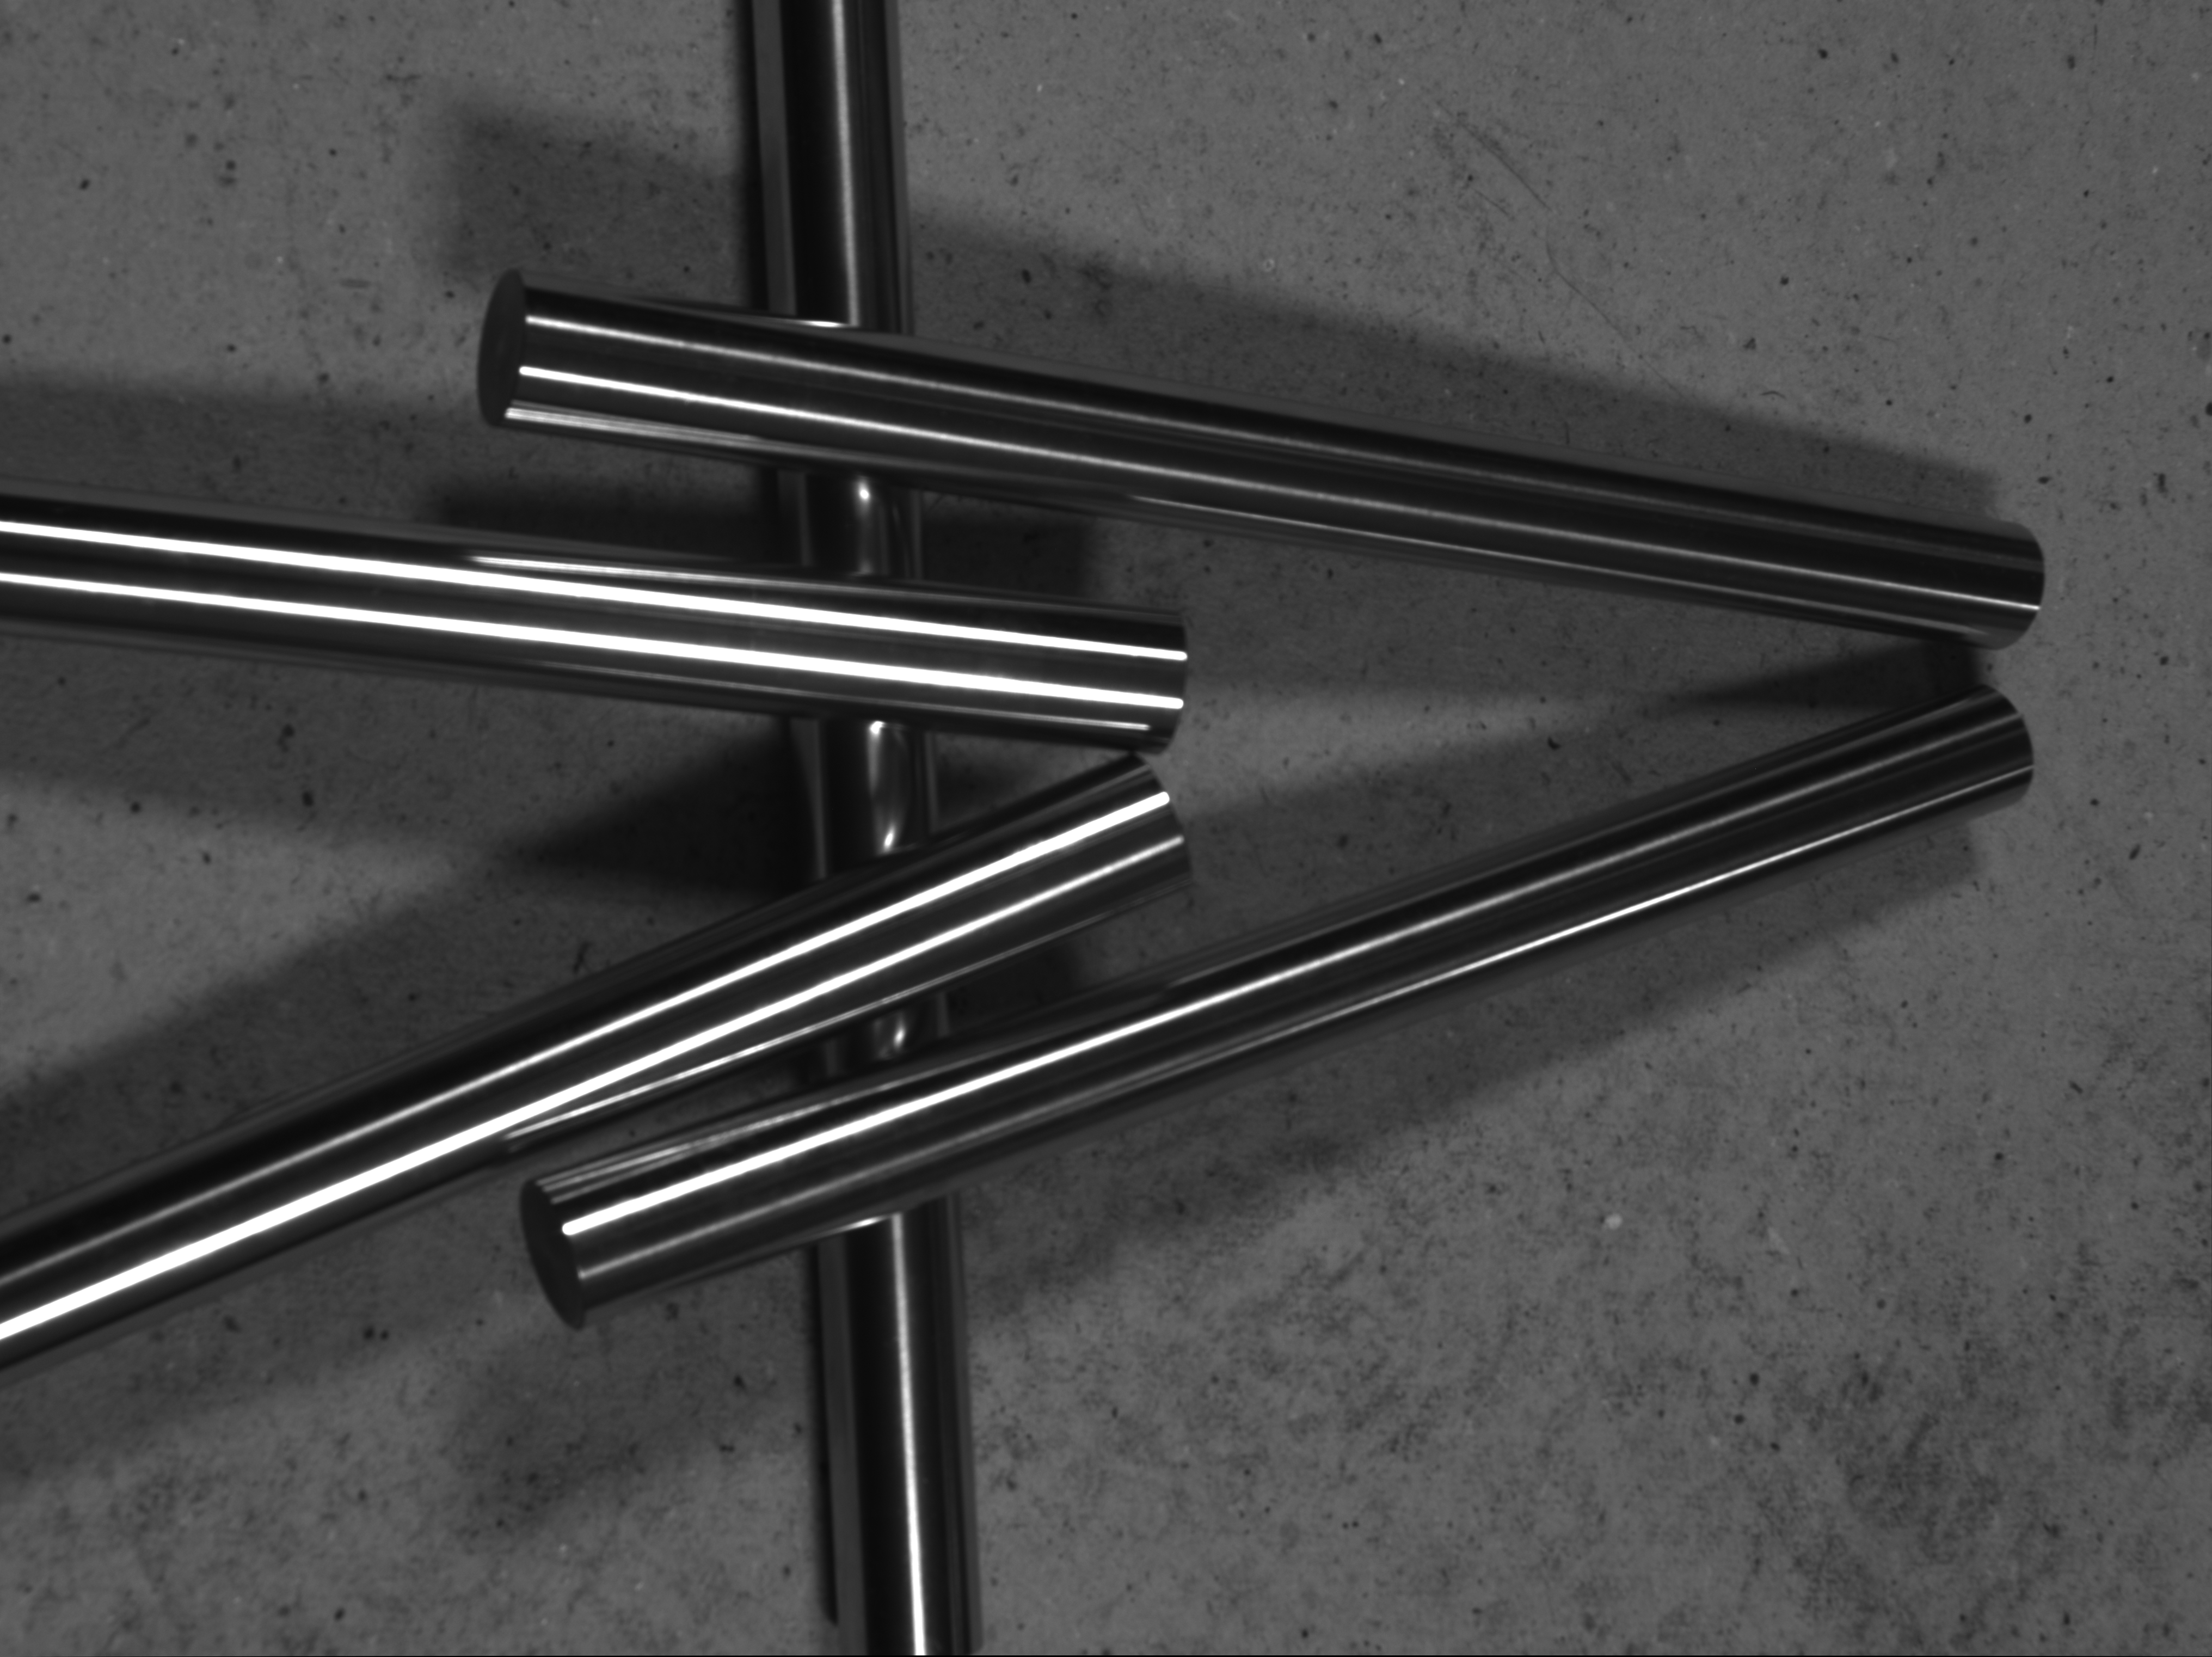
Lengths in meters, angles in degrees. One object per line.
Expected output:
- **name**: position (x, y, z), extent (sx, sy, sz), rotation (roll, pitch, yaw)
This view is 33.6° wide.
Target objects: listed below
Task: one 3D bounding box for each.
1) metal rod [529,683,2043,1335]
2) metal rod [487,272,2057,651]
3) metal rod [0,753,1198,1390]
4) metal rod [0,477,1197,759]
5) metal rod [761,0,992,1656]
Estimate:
- **metal rod**: position (0.043, 0.026, 0.642), extent (0.301, 0.025, 0.025), rotation (-18, 96, -25)
- **metal rod**: position (0.041, -0.061, 0.641), extent (0.301, 0.025, 0.025), rotation (6, 88, -26)
- **metal rod**: position (-0.125, 0.055, 0.583), extent (0.300, 0.025, 0.025), rotation (-22, 97, -13)
- **metal rod**: position (-0.133, -0.038, 0.580), extent (0.300, 0.025, 0.025), rotation (6, 88, -14)
- **metal rod**: position (-0.040, -0.008, 0.629), extent (0.025, 0.025, 0.300), rotation (-3, 91, -20)
